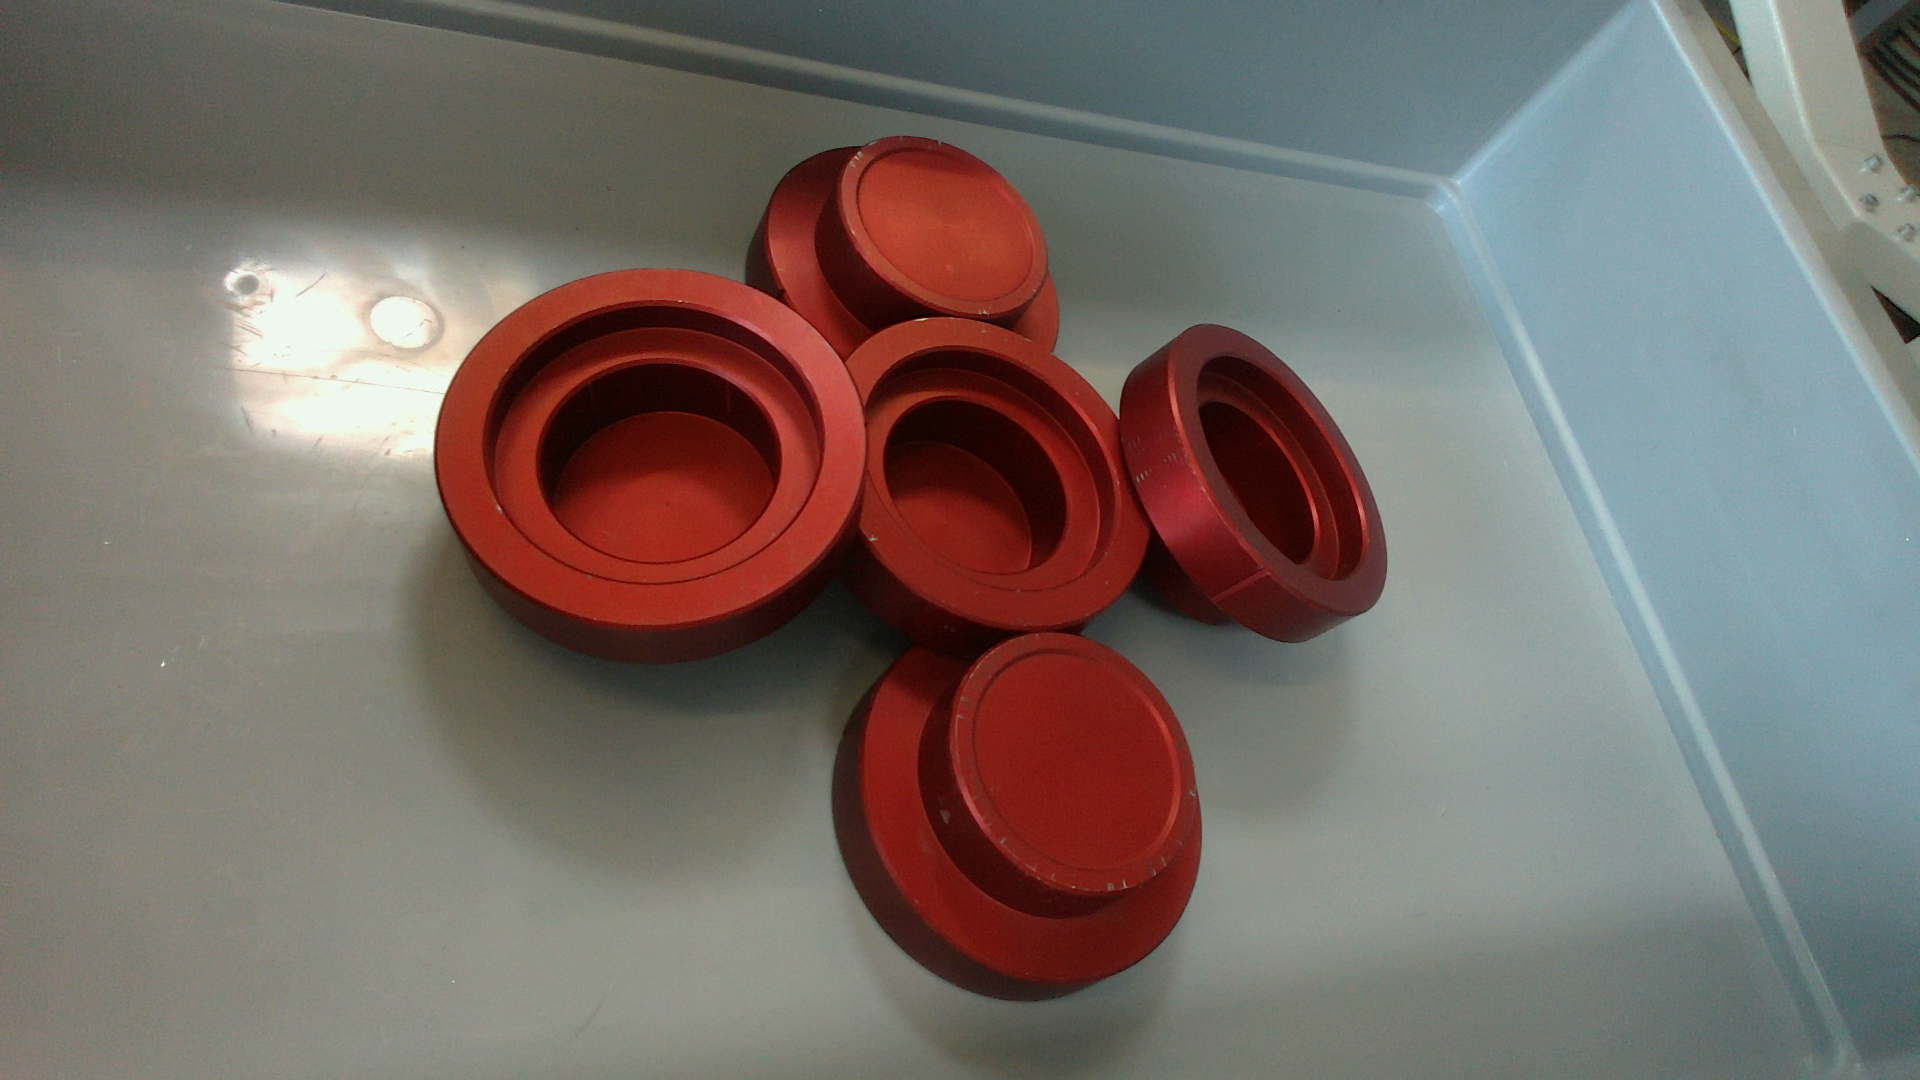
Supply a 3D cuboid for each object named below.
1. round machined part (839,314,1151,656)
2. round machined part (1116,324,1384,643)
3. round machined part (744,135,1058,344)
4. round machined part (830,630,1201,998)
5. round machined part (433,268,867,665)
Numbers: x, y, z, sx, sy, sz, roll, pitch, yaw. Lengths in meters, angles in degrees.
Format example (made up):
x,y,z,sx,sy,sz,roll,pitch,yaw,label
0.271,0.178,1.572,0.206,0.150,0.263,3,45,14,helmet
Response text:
x,y,z,sx,sy,sz,roll,pitch,yaw,label
0.001,-0.011,0.384,0.098,0.042,0.098,14,56,-21,round machined part
0.081,-0.013,0.418,0.098,0.042,0.098,27,46,-31,round machined part
-0.013,-0.084,0.421,0.098,0.042,0.098,14,56,-21,round machined part
0.020,0.062,0.350,0.098,0.042,0.098,14,56,-21,round machined part
-0.073,-0.015,0.336,0.098,0.042,0.098,4,62,-7,round machined part
